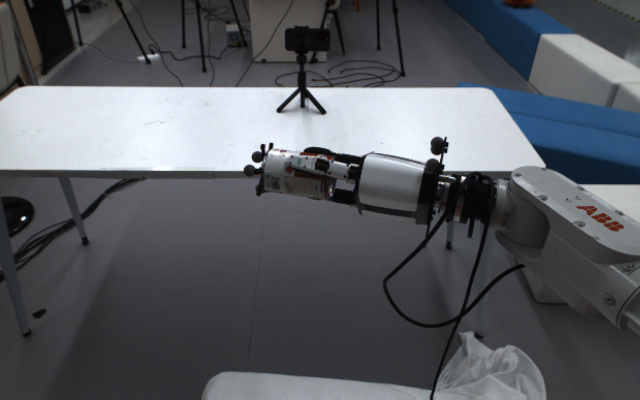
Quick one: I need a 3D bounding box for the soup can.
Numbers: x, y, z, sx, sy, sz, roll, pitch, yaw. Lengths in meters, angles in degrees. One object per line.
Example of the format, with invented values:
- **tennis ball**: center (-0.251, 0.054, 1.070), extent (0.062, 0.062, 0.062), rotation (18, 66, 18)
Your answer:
- **soup can**: center (-0.028, -0.038, 0.725), extent (0.101, 0.067, 0.067), rotation (8, 35, 11)
